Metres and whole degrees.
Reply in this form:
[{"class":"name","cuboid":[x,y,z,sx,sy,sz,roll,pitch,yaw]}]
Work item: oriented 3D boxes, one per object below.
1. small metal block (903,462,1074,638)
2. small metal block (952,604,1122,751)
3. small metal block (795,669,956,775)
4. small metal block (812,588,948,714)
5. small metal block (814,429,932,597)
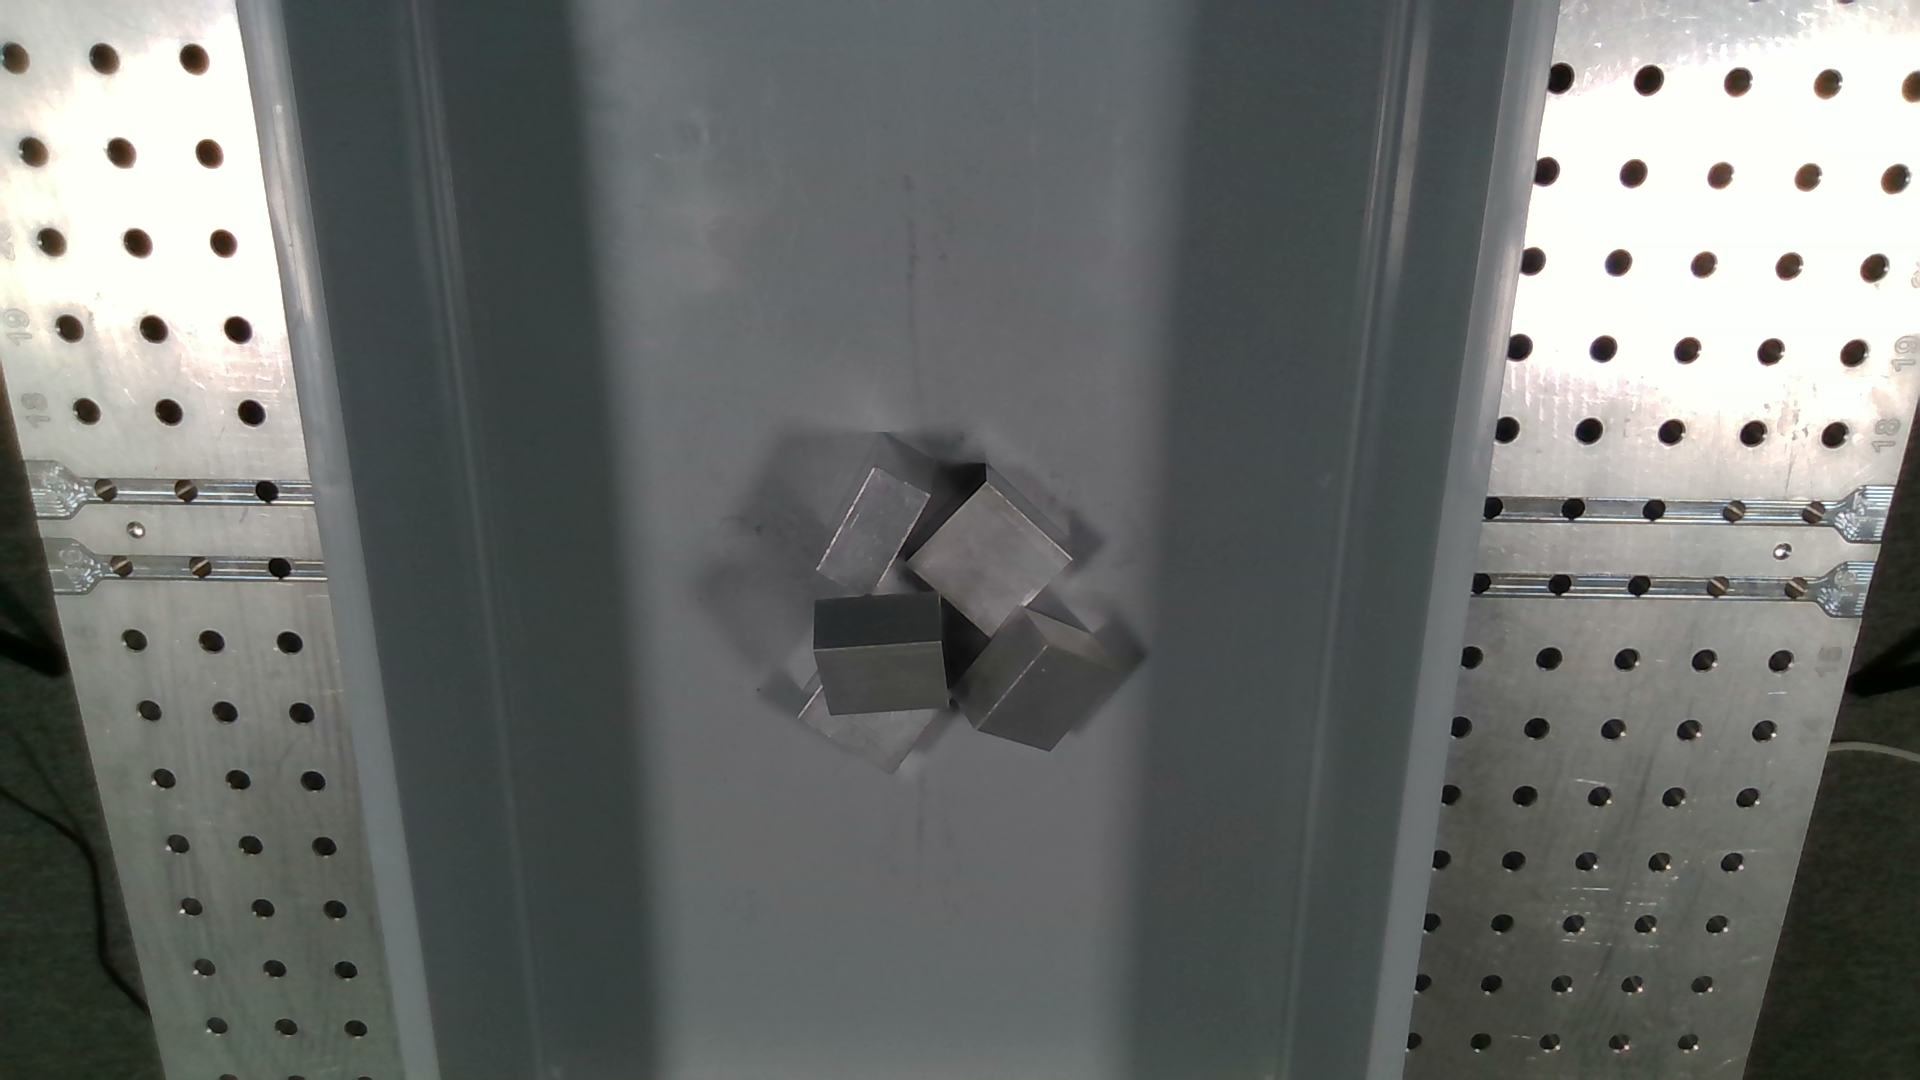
[{"class":"small metal block","cuboid":[0.012,0.004,0.584,0.050,0.025,0.050,42,105,-14]},{"class":"small metal block","cuboid":[0.033,0.060,0.594,0.050,0.025,0.050,23,113,-43]},{"class":"small metal block","cuboid":[-0.037,0.067,0.608,0.050,0.025,0.050,33,107,-11]},{"class":"small metal block","cuboid":[-0.032,0.046,0.562,0.050,0.025,0.050,-4,142,1]},{"class":"small metal block","cuboid":[-0.035,-0.012,0.565,0.025,0.050,0.050,28,108,-10]}]
